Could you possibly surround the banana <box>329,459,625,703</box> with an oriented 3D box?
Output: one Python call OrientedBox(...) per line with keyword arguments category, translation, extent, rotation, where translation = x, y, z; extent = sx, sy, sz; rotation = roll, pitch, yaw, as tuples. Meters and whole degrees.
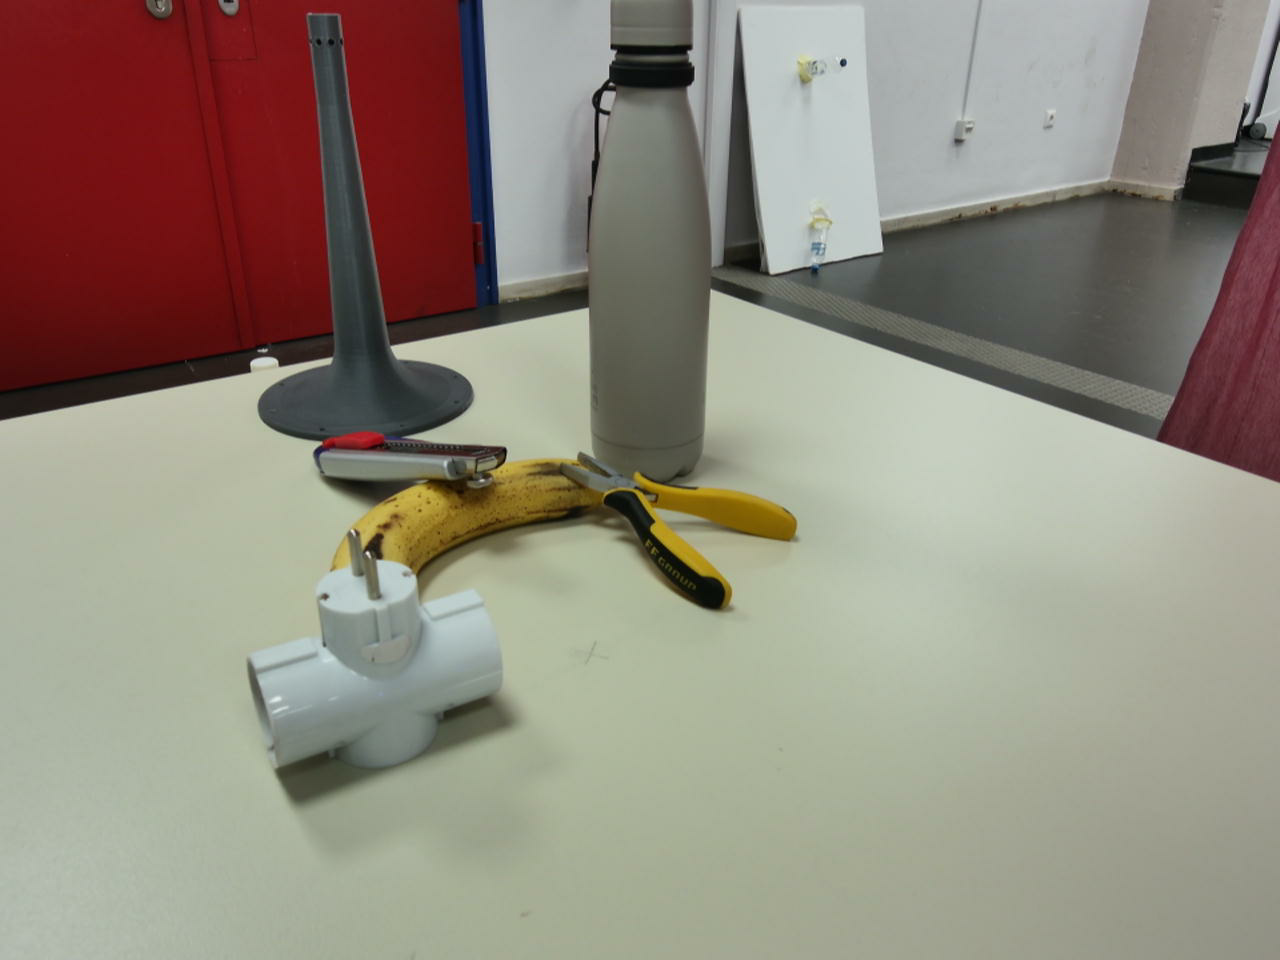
OrientedBox(category="banana", translation=(-0.088, 0.030, 0.508), extent=(0.097, 0.038, 0.186), rotation=(12, 27, 22))
